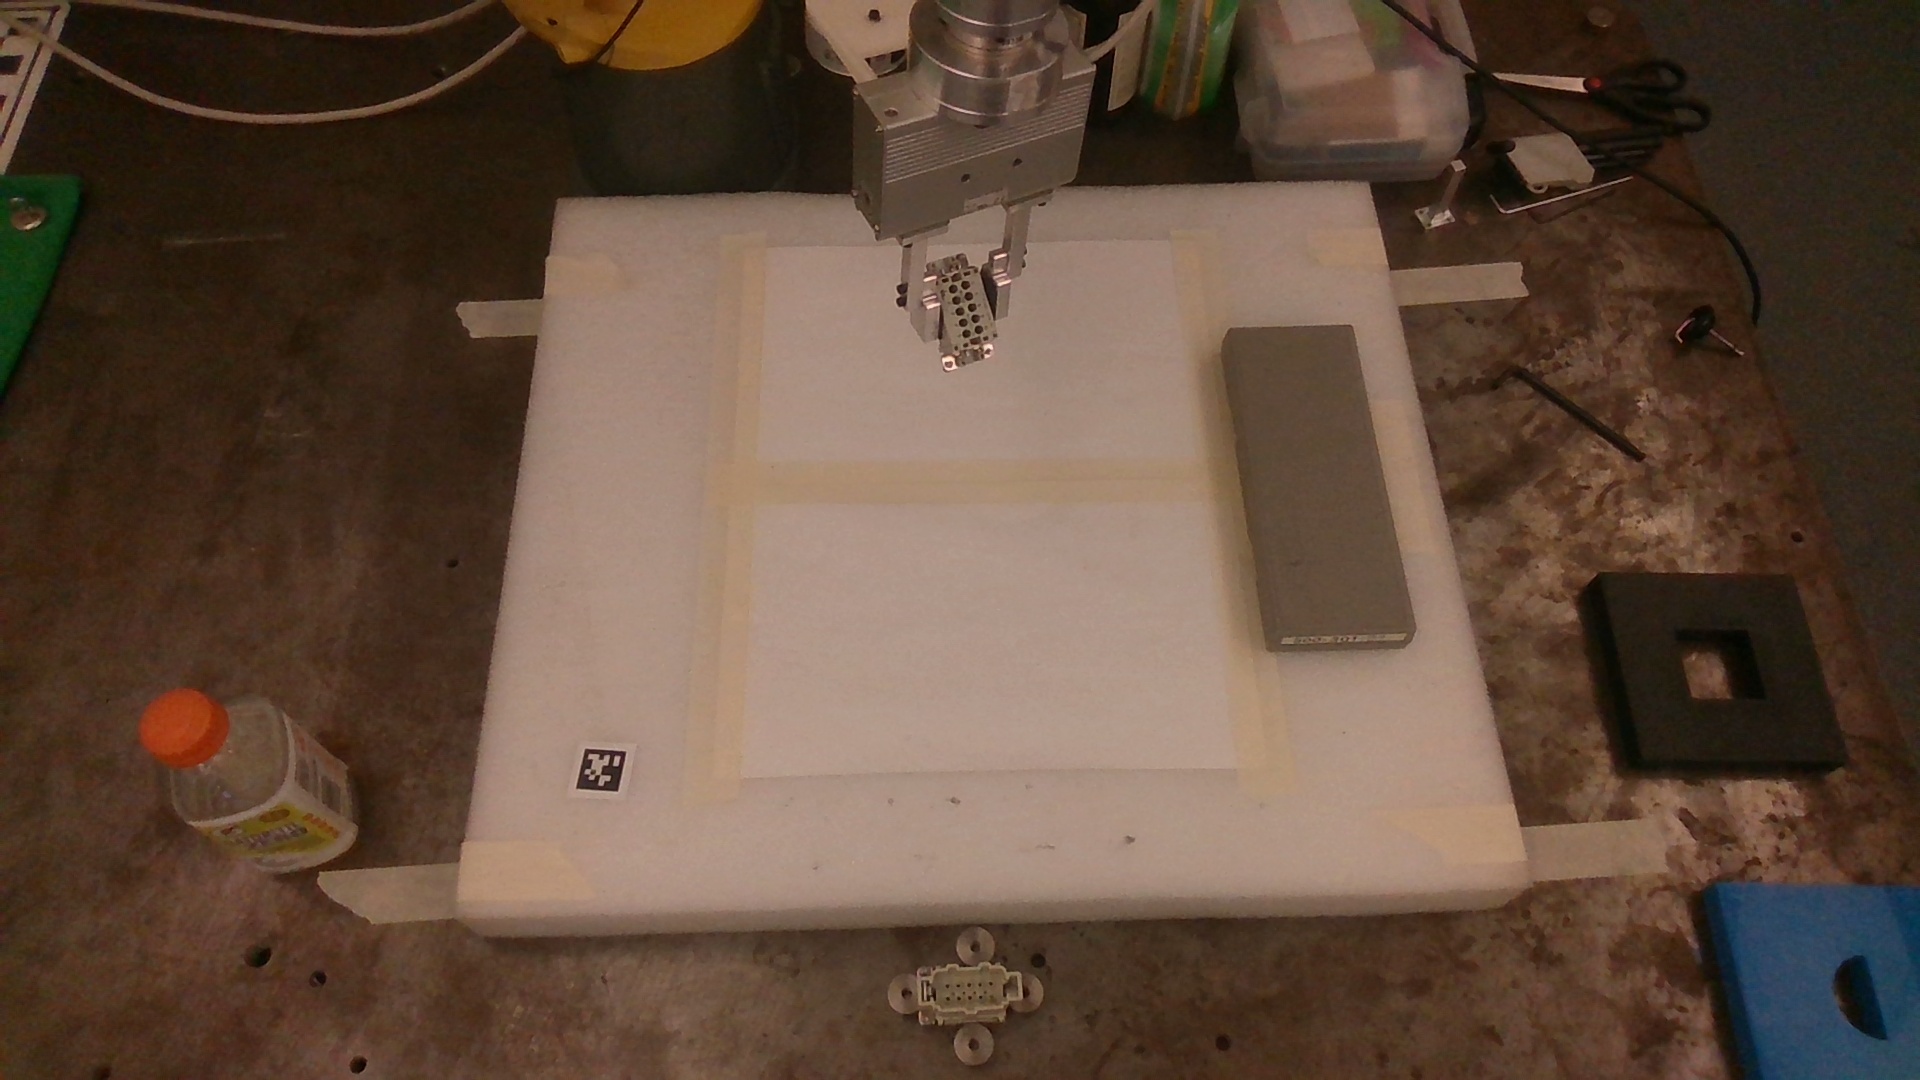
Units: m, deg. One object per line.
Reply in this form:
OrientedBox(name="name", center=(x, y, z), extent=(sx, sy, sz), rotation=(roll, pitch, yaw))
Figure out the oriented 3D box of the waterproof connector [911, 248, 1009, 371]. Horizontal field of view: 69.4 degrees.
OrientedBox(name="waterproof connector", center=(0.000, -0.137, 0.817), extent=(0.036, 0.039, 0.069), rotation=(-23, 93, -23))
